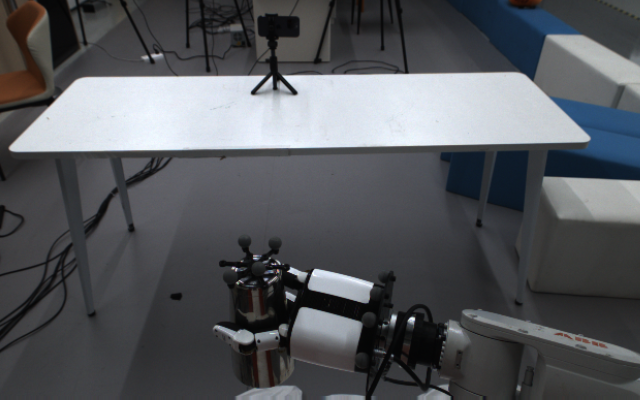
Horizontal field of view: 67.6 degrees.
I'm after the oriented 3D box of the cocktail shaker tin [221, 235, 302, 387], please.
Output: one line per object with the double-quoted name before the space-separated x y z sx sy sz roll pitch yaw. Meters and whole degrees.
"cocktail shaker tin" -0.079 0.159 0.651 0.093 0.170 0.093 0 33 0
